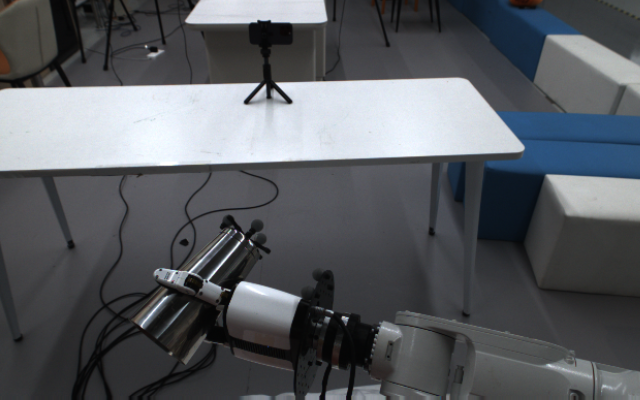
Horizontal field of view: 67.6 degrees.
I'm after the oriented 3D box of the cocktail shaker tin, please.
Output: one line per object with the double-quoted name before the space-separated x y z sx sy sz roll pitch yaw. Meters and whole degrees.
"cocktail shaker tin" -0.158 0.114 0.642 0.093 0.093 0.170 23 57 27
